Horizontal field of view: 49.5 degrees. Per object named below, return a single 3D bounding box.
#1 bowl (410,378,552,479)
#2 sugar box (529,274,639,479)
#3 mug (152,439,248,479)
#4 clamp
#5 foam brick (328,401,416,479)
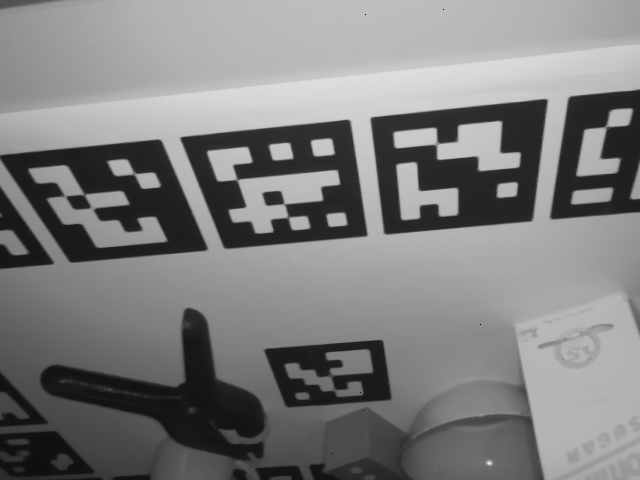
[{"bbox_3d":[0.162,0.177,0.640,0.162,0.055,0.160,0,132,1],"label":"bowl"},{"bbox_3d":[0.215,0.113,0.502,0.092,0.178,0.045,-25,125,23],"label":"sugar box"},{"bbox_3d":[-0.115,0.253,0.685,0.118,0.082,0.092,16,130,-9],"label":"mug"},{"bbox_3d":[-0.100,0.144,0.612,0.164,0.037,0.203,-26,126,18],"label":"clamp"},{"bbox_3d":[0.050,0.203,0.672,0.052,0.052,0.078,-28,125,22],"label":"foam brick"}]
